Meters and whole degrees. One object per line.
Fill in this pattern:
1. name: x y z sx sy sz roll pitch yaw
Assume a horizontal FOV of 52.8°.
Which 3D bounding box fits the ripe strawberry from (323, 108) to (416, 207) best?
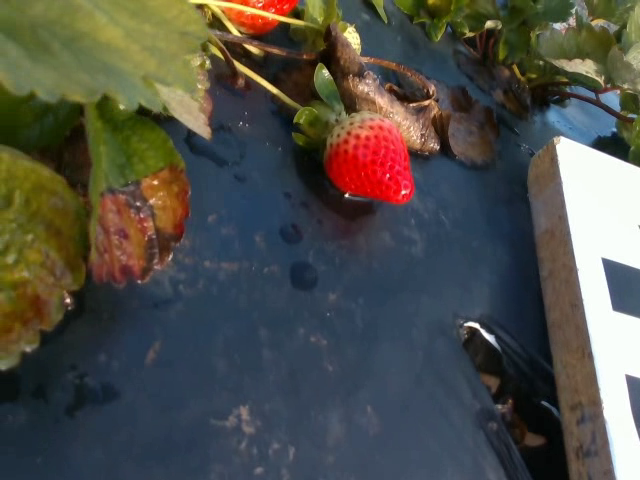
1. ripe strawberry: 0.019 -0.028 0.225 0.035 0.043 0.029 -18 -24 -35
